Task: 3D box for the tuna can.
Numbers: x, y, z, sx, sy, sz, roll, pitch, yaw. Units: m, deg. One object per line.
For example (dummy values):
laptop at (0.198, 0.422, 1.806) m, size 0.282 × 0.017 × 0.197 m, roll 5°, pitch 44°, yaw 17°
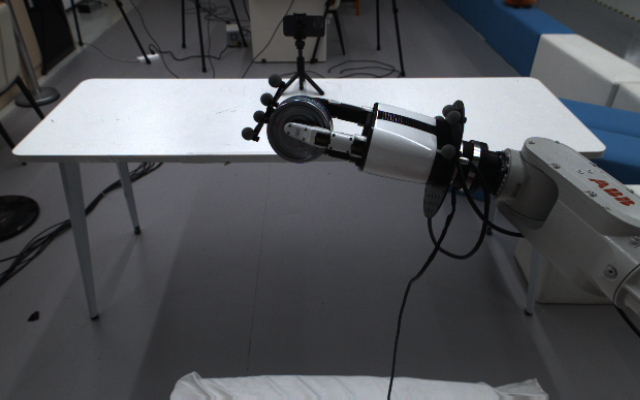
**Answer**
tuna can at (-0.023, -0.091, 0.640) m, size 0.085 × 0.085 × 0.034 m, roll 3°, pitch 21°, yaw 1°
